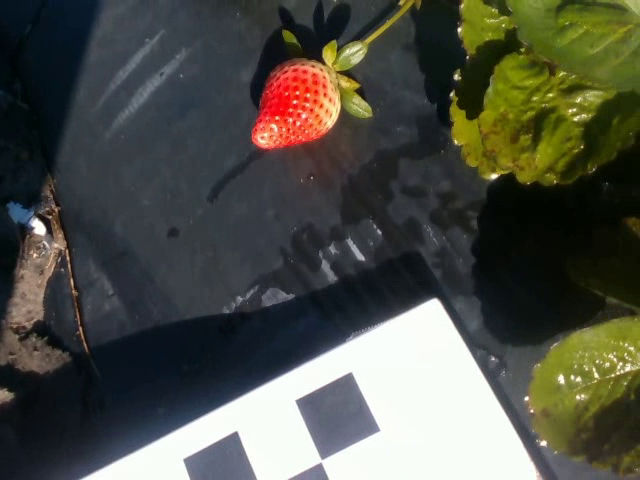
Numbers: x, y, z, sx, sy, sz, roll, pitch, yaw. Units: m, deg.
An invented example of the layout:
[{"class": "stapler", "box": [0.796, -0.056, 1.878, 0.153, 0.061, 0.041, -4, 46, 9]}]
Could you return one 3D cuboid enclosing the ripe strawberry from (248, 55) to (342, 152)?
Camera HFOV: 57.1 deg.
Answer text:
[{"class": "ripe strawberry", "box": [-0.011, -0.054, 0.246, 0.039, 0.053, 0.041, 40, -25, 21]}]
